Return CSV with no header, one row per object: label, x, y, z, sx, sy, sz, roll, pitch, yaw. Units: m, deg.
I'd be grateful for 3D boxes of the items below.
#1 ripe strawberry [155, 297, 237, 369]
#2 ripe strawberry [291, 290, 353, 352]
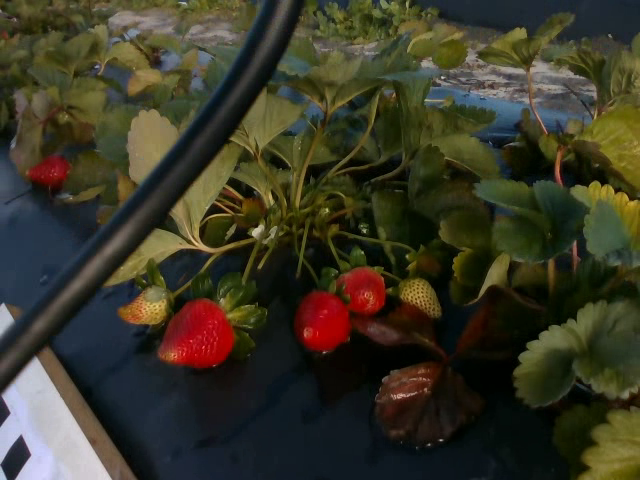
ripe strawberry,-0.088,0.063,0.397,0.050,0.049,0.065,-20,0,32
ripe strawberry,-0.003,0.056,0.388,0.045,0.041,0.055,-40,-4,17
